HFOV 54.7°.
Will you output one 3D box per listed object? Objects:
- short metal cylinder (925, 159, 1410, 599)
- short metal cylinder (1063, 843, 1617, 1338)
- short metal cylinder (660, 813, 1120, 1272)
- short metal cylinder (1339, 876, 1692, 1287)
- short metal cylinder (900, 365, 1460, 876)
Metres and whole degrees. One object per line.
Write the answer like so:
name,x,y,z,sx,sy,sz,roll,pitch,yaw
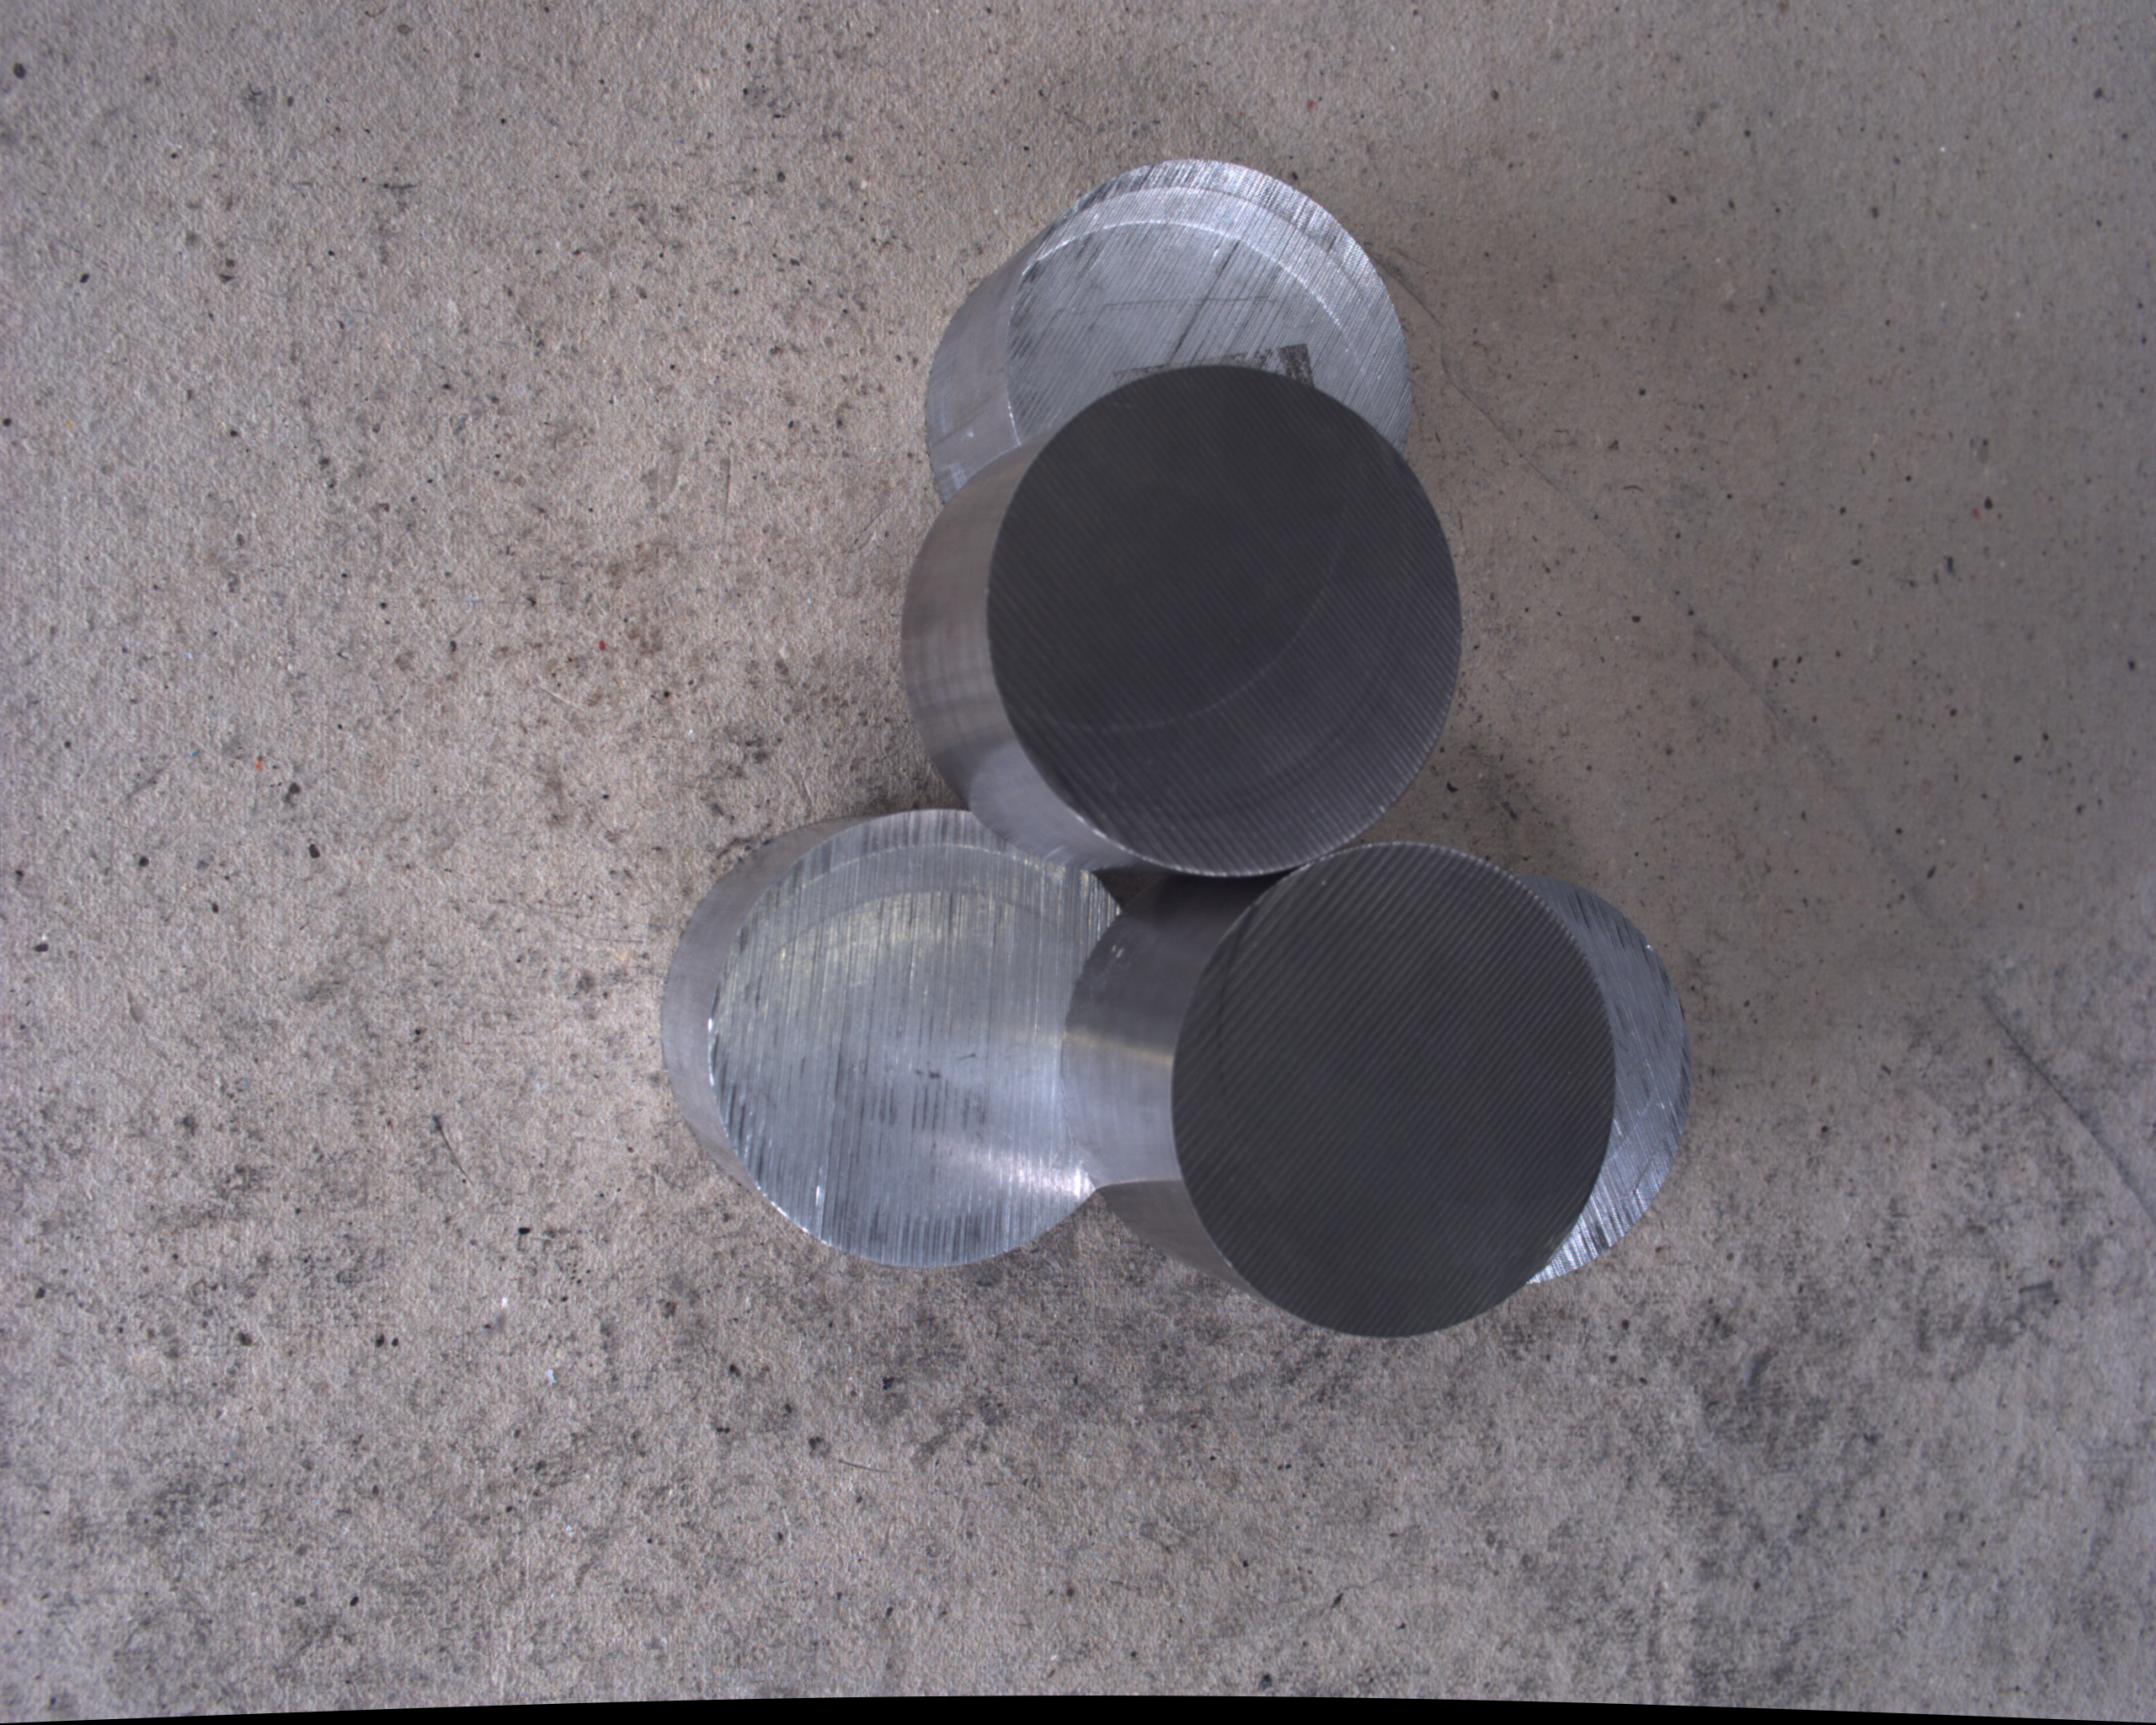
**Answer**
short metal cylinder,0.016,-0.088,0.403,0.081,0.050,0.080,0,90,-20
short metal cylinder,0.044,0.037,0.359,0.081,0.050,0.080,0,90,-21
short metal cylinder,-0.033,0.031,0.385,0.081,0.050,0.080,0,90,-20
short metal cylinder,0.076,0.042,0.424,0.081,0.050,0.080,0,90,-20
short metal cylinder,0.016,-0.038,0.349,0.081,0.050,0.080,0,90,-20
